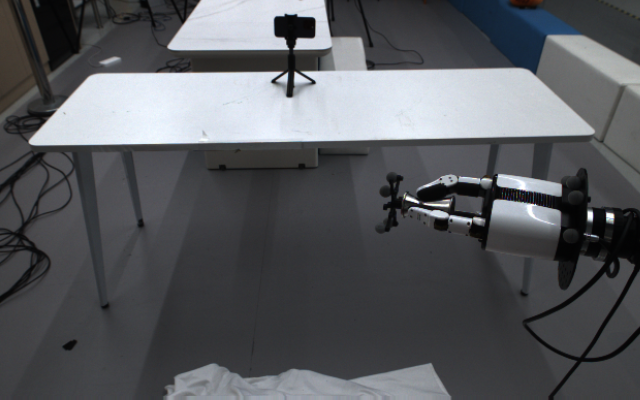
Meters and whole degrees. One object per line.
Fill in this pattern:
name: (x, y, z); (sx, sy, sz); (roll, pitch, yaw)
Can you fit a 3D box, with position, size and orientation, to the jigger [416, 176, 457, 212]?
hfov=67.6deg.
jigger: (0.159, 0.007, 0.687); (0.071, 0.043, 0.043); (8, 34, 23)
